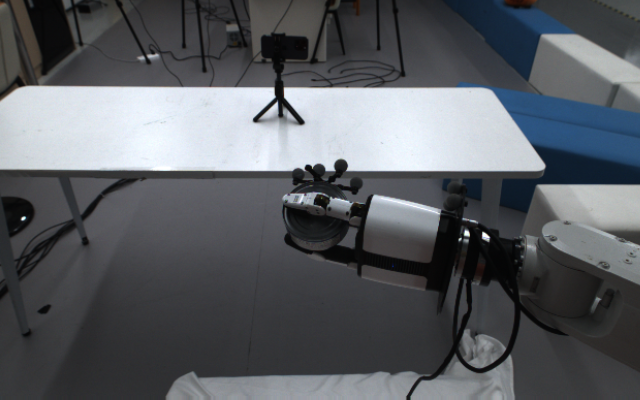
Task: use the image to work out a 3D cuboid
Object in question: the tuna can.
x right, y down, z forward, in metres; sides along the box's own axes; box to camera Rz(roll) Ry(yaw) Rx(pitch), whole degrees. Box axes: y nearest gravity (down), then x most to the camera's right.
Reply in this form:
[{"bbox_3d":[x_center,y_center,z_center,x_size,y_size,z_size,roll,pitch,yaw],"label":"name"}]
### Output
[{"bbox_3d":[-0.003,0.019,0.618,0.085,0.034,0.085,-2,58,3],"label":"tuna can"}]
